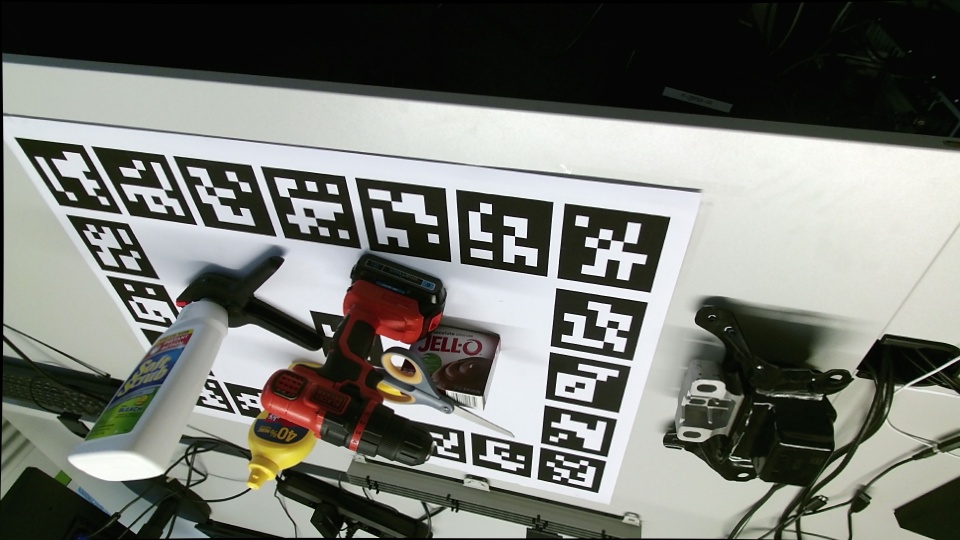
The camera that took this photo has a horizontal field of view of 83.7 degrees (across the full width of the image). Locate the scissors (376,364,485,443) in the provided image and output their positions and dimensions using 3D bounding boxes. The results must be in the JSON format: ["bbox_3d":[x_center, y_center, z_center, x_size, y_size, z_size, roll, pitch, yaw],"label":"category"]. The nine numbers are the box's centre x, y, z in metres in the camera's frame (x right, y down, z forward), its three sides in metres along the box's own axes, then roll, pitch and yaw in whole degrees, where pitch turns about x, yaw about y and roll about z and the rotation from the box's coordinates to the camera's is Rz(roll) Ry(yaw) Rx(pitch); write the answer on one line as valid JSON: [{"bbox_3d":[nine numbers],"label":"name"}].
[{"bbox_3d":[-0.042,0.180,0.639,0.203,0.016,0.088,29,128,-2],"label":"scissors"}]

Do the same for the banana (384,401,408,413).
[{"bbox_3d":[-0.157,0.219,0.822,0.198,0.038,0.074,-28,133,34],"label":"banana"}]

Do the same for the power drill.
[{"bbox_3d":[-0.113,0.108,0.584,0.185,0.186,0.057,16,139,1],"label":"power drill"}]

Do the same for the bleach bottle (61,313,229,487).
[{"bbox_3d":[-0.398,0.142,0.683,0.103,0.249,0.068,-12,129,17],"label":"bleach bottle"}]

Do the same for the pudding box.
[{"bbox_3d":[-0.035,0.133,0.683,0.114,0.089,0.039,11,138,9],"label":"pudding box"}]

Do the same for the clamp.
[{"bbox_3d":[-0.340,0.069,0.743,0.203,0.036,0.165,3,128,17],"label":"clamp"}]

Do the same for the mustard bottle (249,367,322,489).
[{"bbox_3d":[-0.278,0.234,0.786,0.096,0.191,0.058,19,132,3],"label":"mustard bottle"}]
